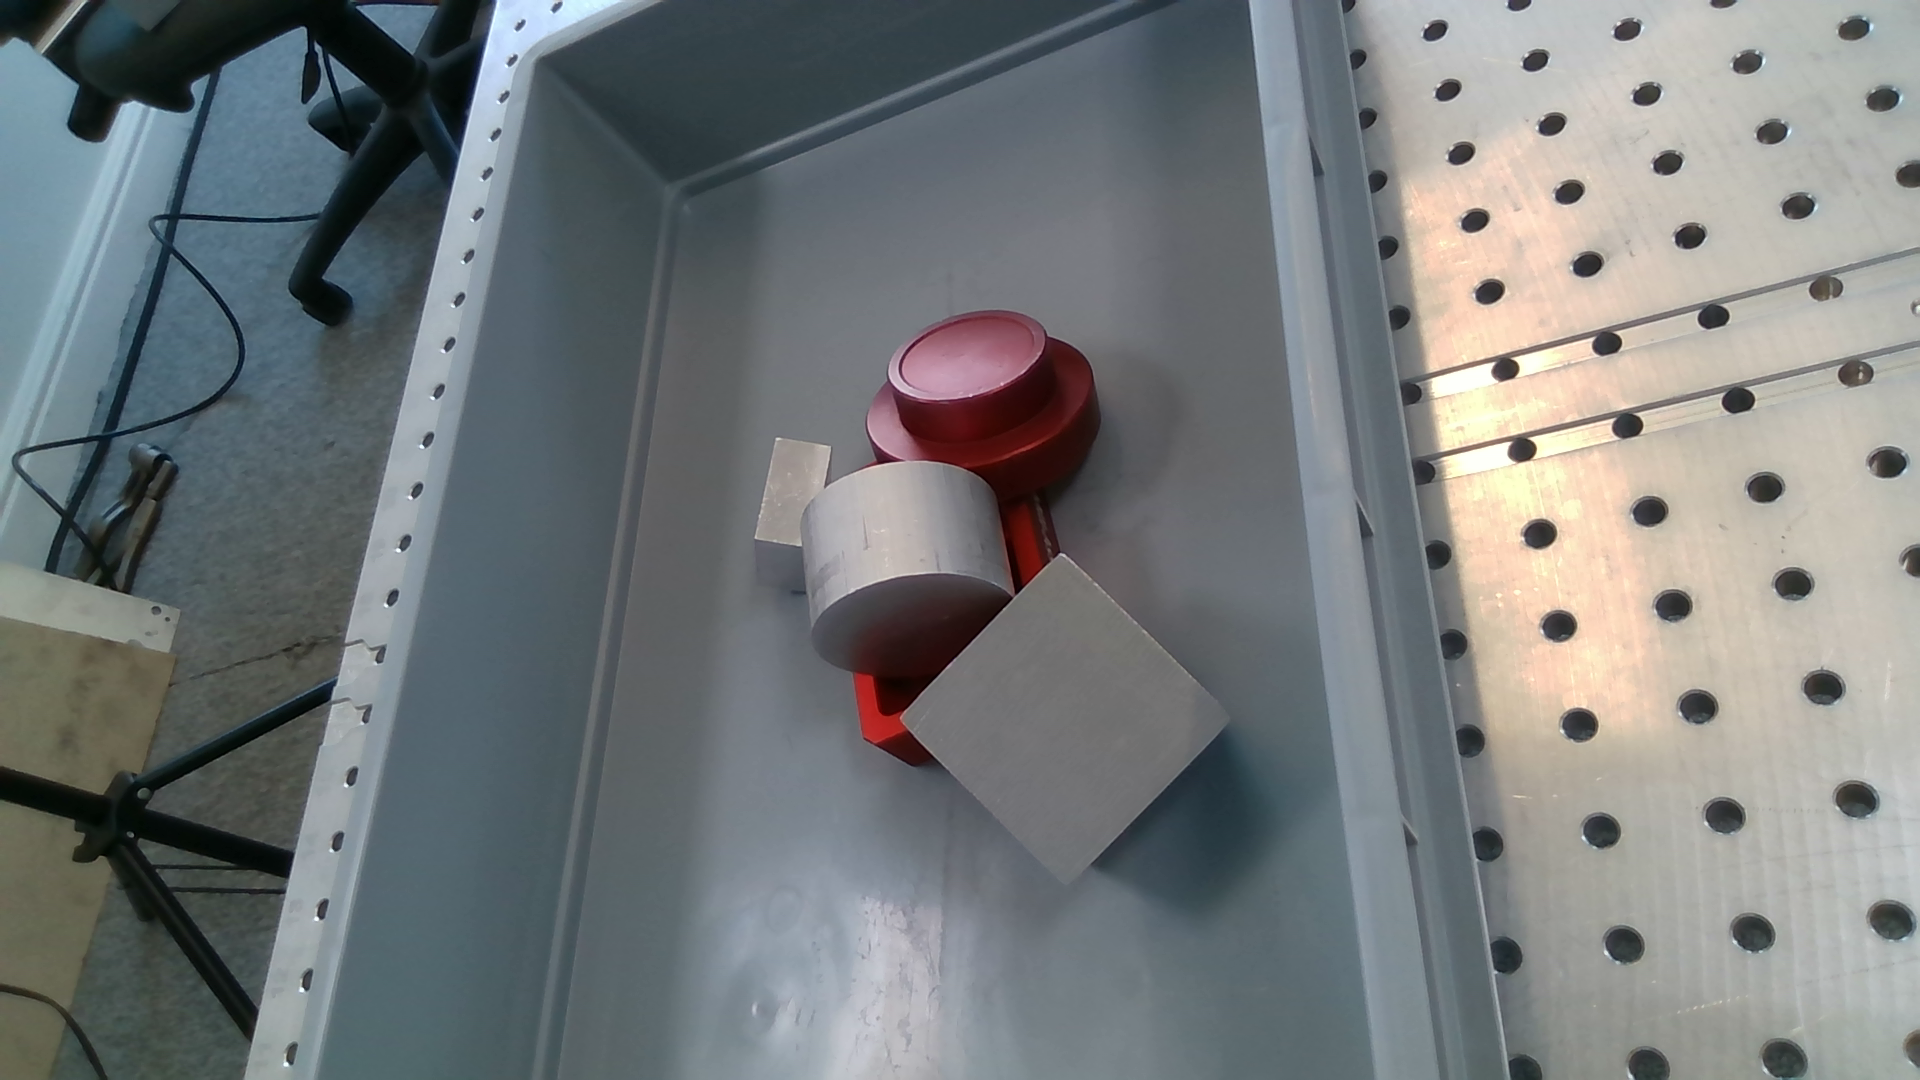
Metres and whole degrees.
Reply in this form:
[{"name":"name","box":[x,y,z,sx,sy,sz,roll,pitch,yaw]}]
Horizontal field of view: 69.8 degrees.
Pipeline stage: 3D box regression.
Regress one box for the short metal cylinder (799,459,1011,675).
[{"name":"short metal cylinder","box":[-0.021,0.012,0.539,0.080,0.080,0.050,-23,56,20]}]

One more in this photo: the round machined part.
[{"name":"round machined part","box":[0.007,-0.061,0.577,0.098,0.042,0.098,-10,38,8]}]

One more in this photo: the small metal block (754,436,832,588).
[{"name":"small metal block","box":[-0.074,-0.011,0.617,0.025,0.050,0.050,9,65,-2]}]

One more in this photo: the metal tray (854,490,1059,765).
[{"name":"metal tray","box":[-0.003,0.018,0.575,0.090,0.030,0.130,-25,55,19]}]

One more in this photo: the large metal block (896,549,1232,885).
[{"name":"large metal block","box":[0.036,0.060,0.489,0.080,0.050,0.080,43,93,2]}]
